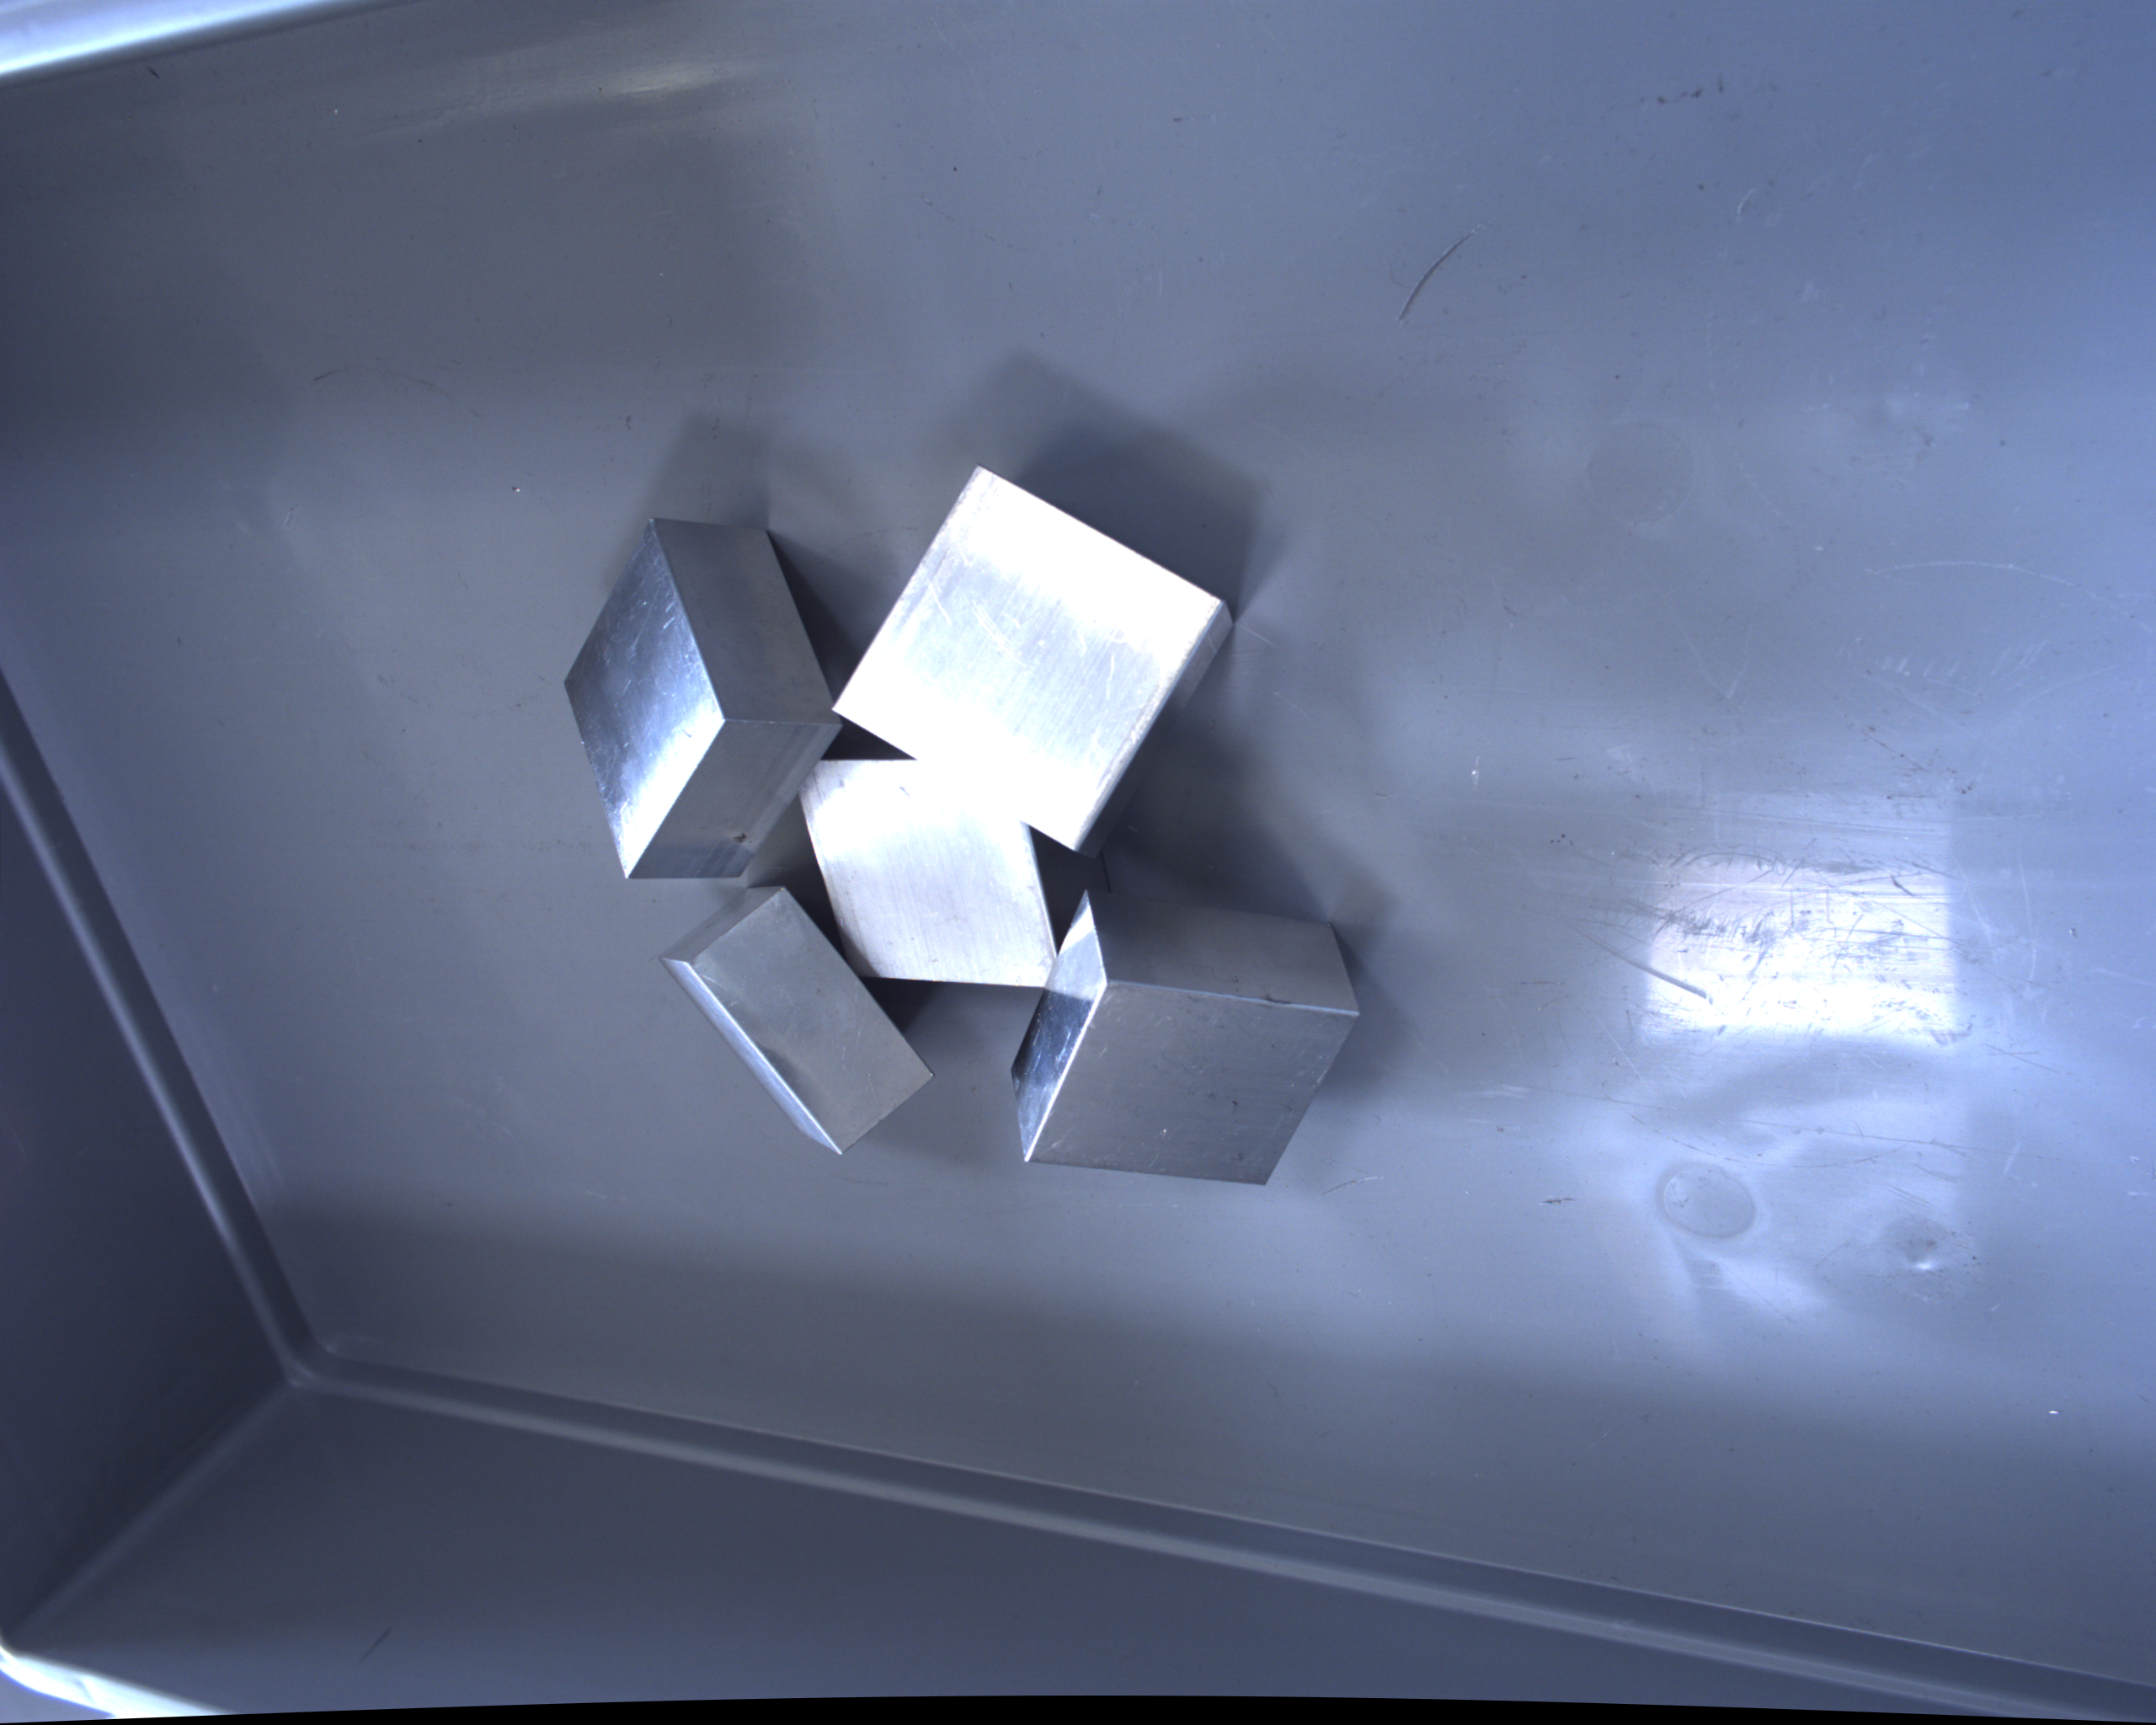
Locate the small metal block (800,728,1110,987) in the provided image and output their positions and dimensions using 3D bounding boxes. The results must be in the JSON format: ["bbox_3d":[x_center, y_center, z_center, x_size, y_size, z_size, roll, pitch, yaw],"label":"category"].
[{"bbox_3d":[-0.024,-0.004,0.416,0.050,0.025,0.050,2,119,27],"label":"small metal block"}]

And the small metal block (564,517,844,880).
[{"bbox_3d":[-0.075,-0.031,0.410,0.050,0.025,0.050,-50,52,40],"label":"small metal block"}]

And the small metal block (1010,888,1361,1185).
[{"bbox_3d":[0.019,0.035,0.403,0.050,0.025,0.050,8,130,-18],"label":"small metal block"}]

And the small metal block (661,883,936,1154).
[{"bbox_3d":[-0.061,0.032,0.443,0.050,0.025,0.050,53,166,-10],"label":"small metal block"}]

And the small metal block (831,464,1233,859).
[{"bbox_3d":[-0.007,-0.035,0.373,0.050,0.025,0.050,31,91,8],"label":"small metal block"}]
